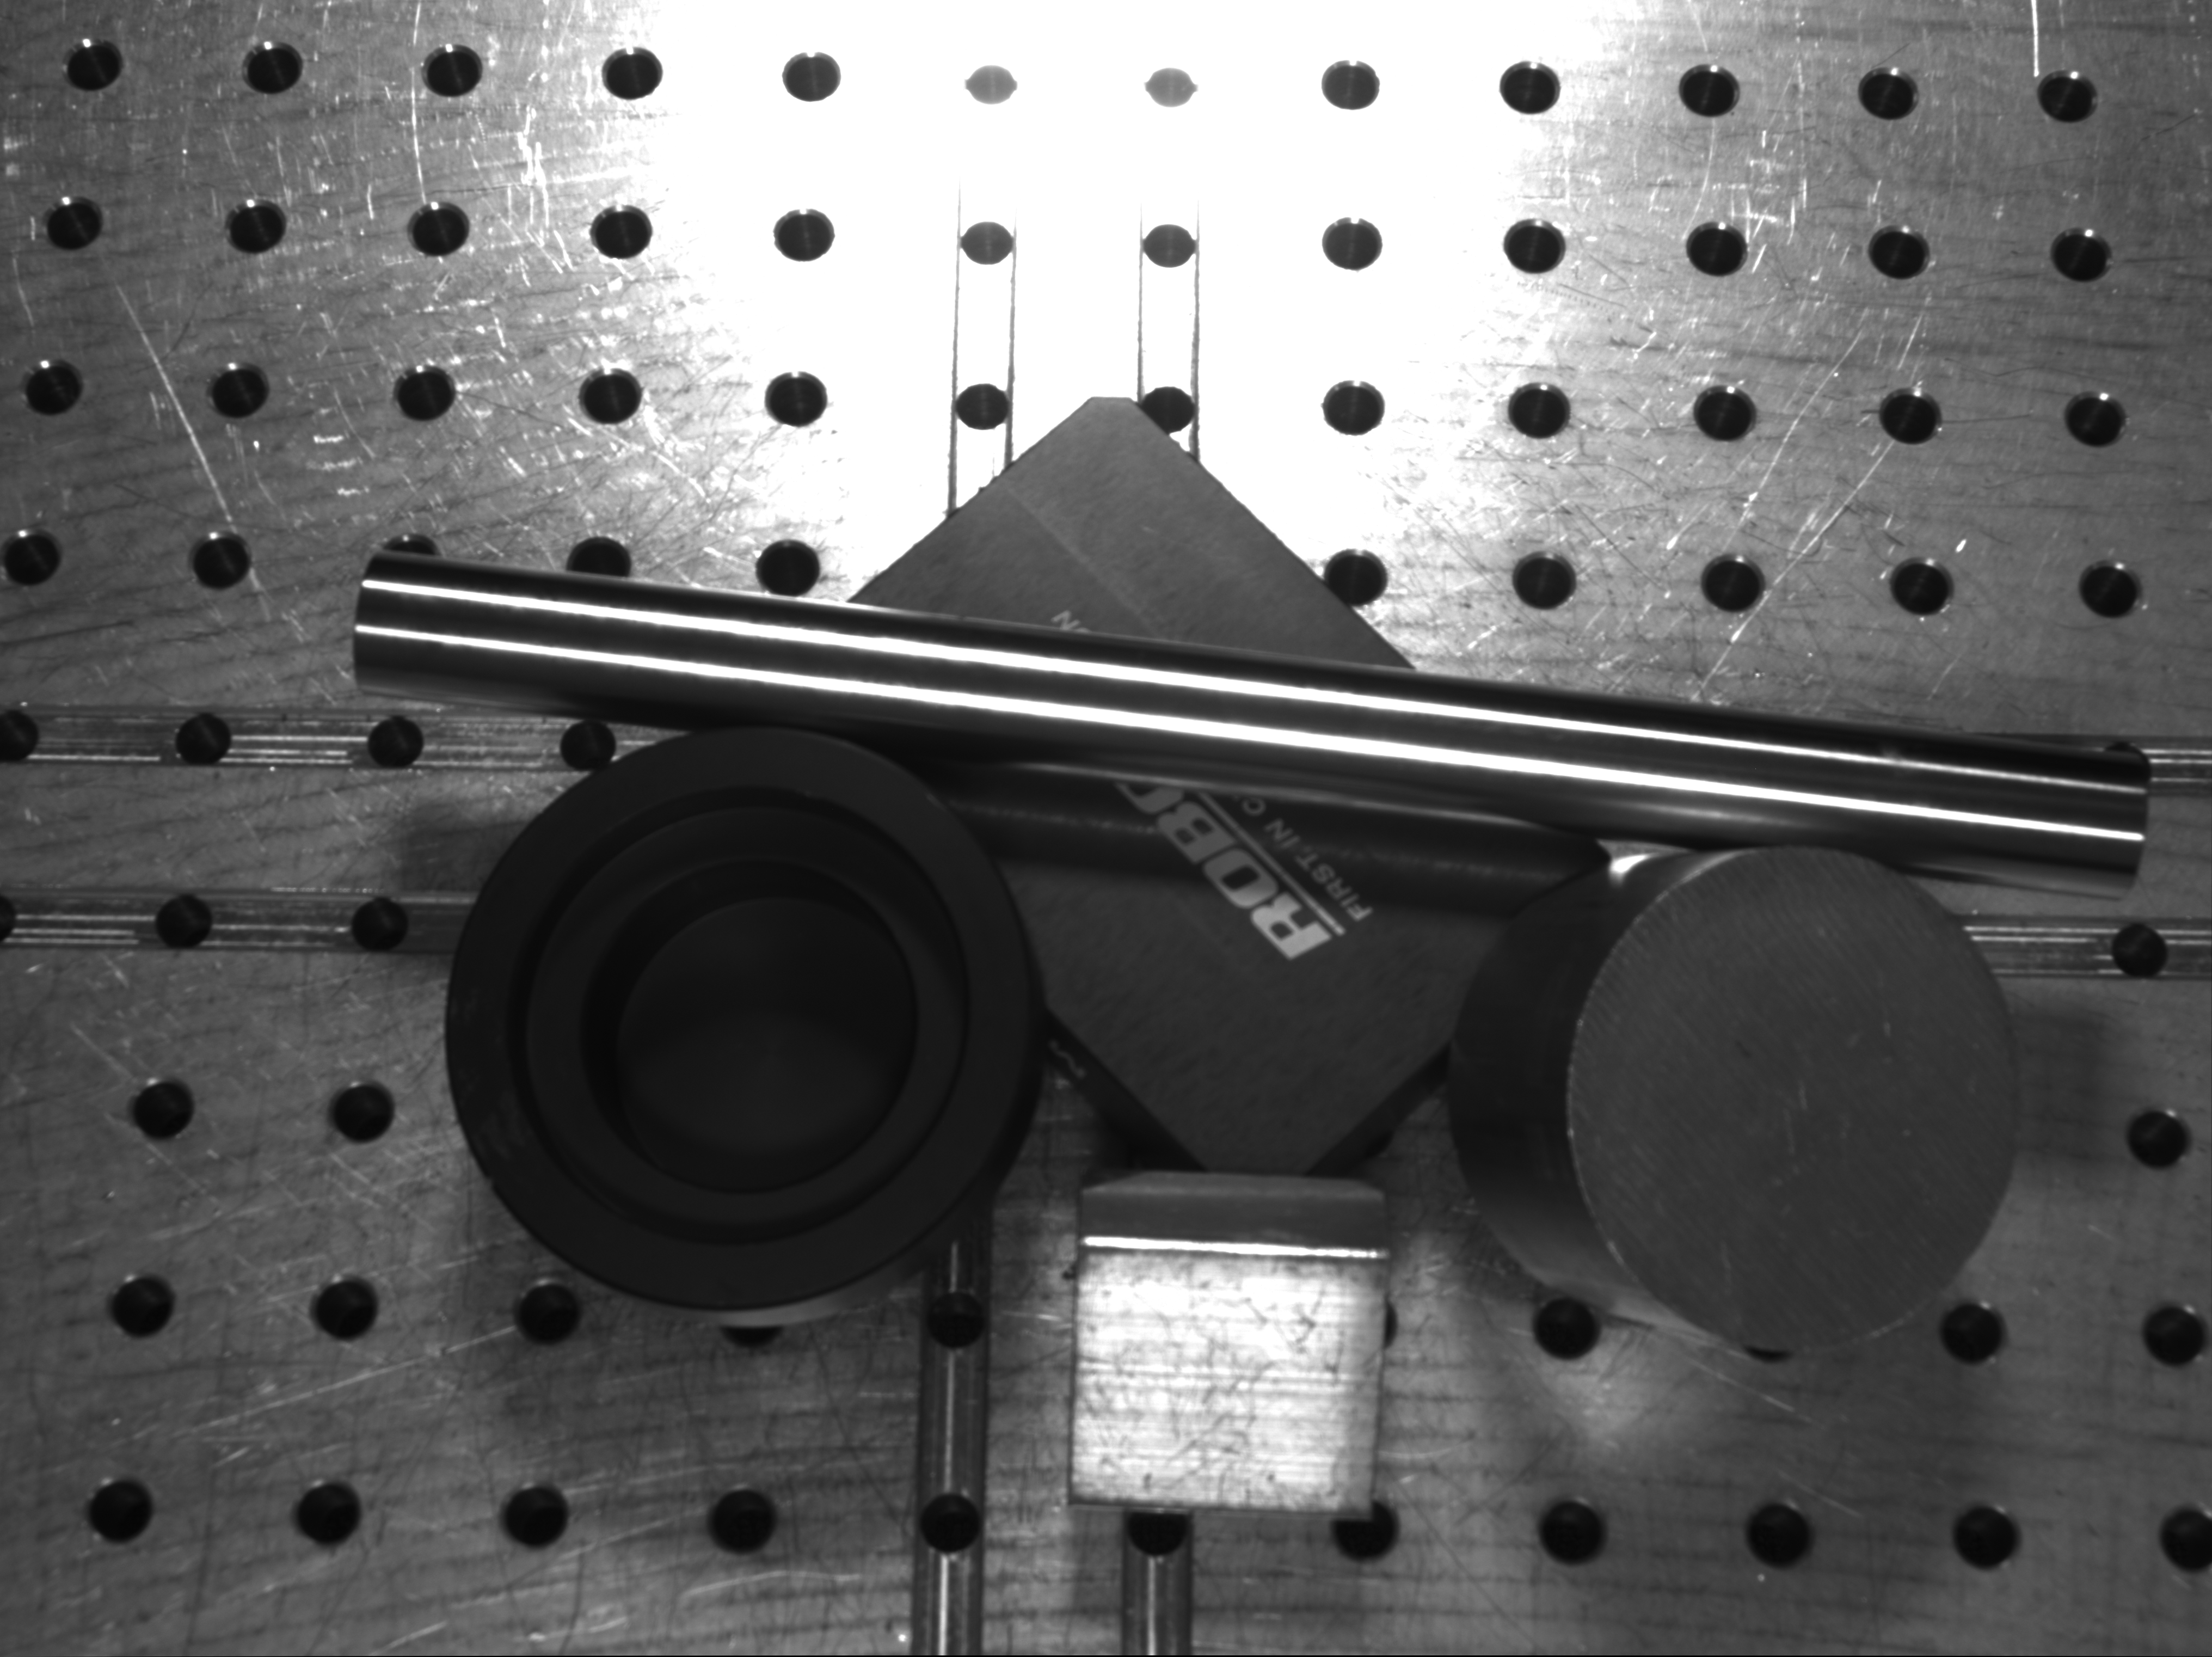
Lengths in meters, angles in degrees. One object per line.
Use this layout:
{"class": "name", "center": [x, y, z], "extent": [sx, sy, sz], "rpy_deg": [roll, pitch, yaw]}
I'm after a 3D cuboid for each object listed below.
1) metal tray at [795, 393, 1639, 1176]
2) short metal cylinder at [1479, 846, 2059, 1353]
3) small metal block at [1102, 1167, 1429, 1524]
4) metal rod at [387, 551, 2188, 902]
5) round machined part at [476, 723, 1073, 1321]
{"class": "metal tray", "center": [0.019, -0.003, 0.647], "extent": [0.090, 0.030, 0.130], "rpy_deg": [-41, 75, -14]}
{"class": "short metal cylinder", "center": [0.108, 0.043, 0.602], "extent": [0.080, 0.050, 0.080], "rpy_deg": [0, 89, -17]}
{"class": "small metal block", "center": [0.026, 0.085, 0.602], "extent": [0.050, 0.025, 0.050], "rpy_deg": [3, 113, 0]}
{"class": "metal rod", "center": [0.029, -0.018, 0.620], "extent": [0.300, 0.025, 0.025], "rpy_deg": [7, 70, 2]}
{"class": "round machined part", "center": [-0.053, 0.035, 0.620], "extent": [0.098, 0.042, 0.098], "rpy_deg": [-1, 76, 5]}
